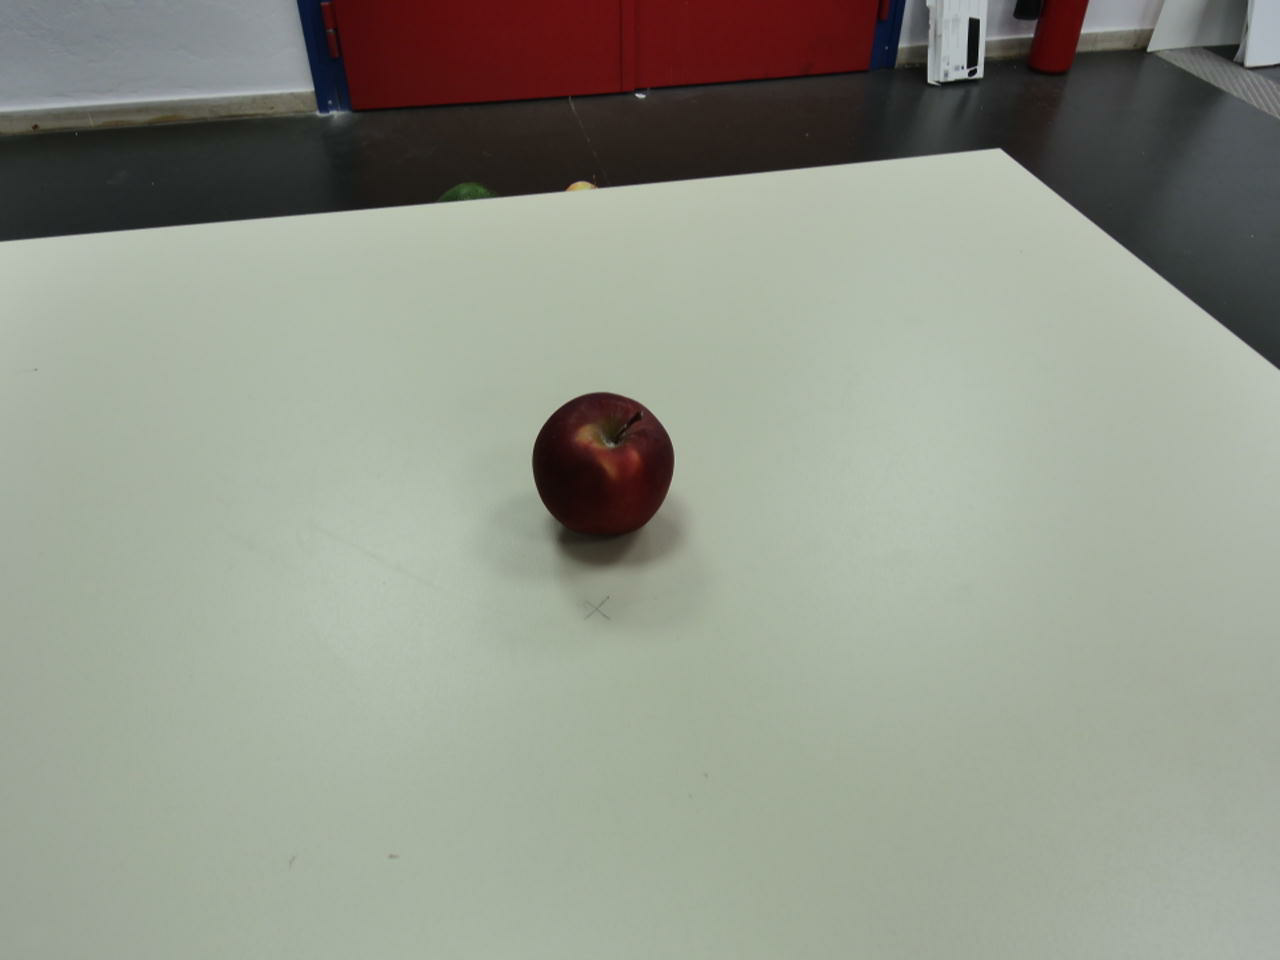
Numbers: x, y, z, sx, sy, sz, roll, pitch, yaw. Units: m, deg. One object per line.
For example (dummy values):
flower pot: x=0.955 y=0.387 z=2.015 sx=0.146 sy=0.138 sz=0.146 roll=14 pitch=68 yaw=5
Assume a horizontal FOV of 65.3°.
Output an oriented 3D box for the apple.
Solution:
apple: x=-0.018 y=-0.007 z=0.487 sx=0.070 sy=0.072 sz=0.070 roll=1 pitch=39 yaw=-1
